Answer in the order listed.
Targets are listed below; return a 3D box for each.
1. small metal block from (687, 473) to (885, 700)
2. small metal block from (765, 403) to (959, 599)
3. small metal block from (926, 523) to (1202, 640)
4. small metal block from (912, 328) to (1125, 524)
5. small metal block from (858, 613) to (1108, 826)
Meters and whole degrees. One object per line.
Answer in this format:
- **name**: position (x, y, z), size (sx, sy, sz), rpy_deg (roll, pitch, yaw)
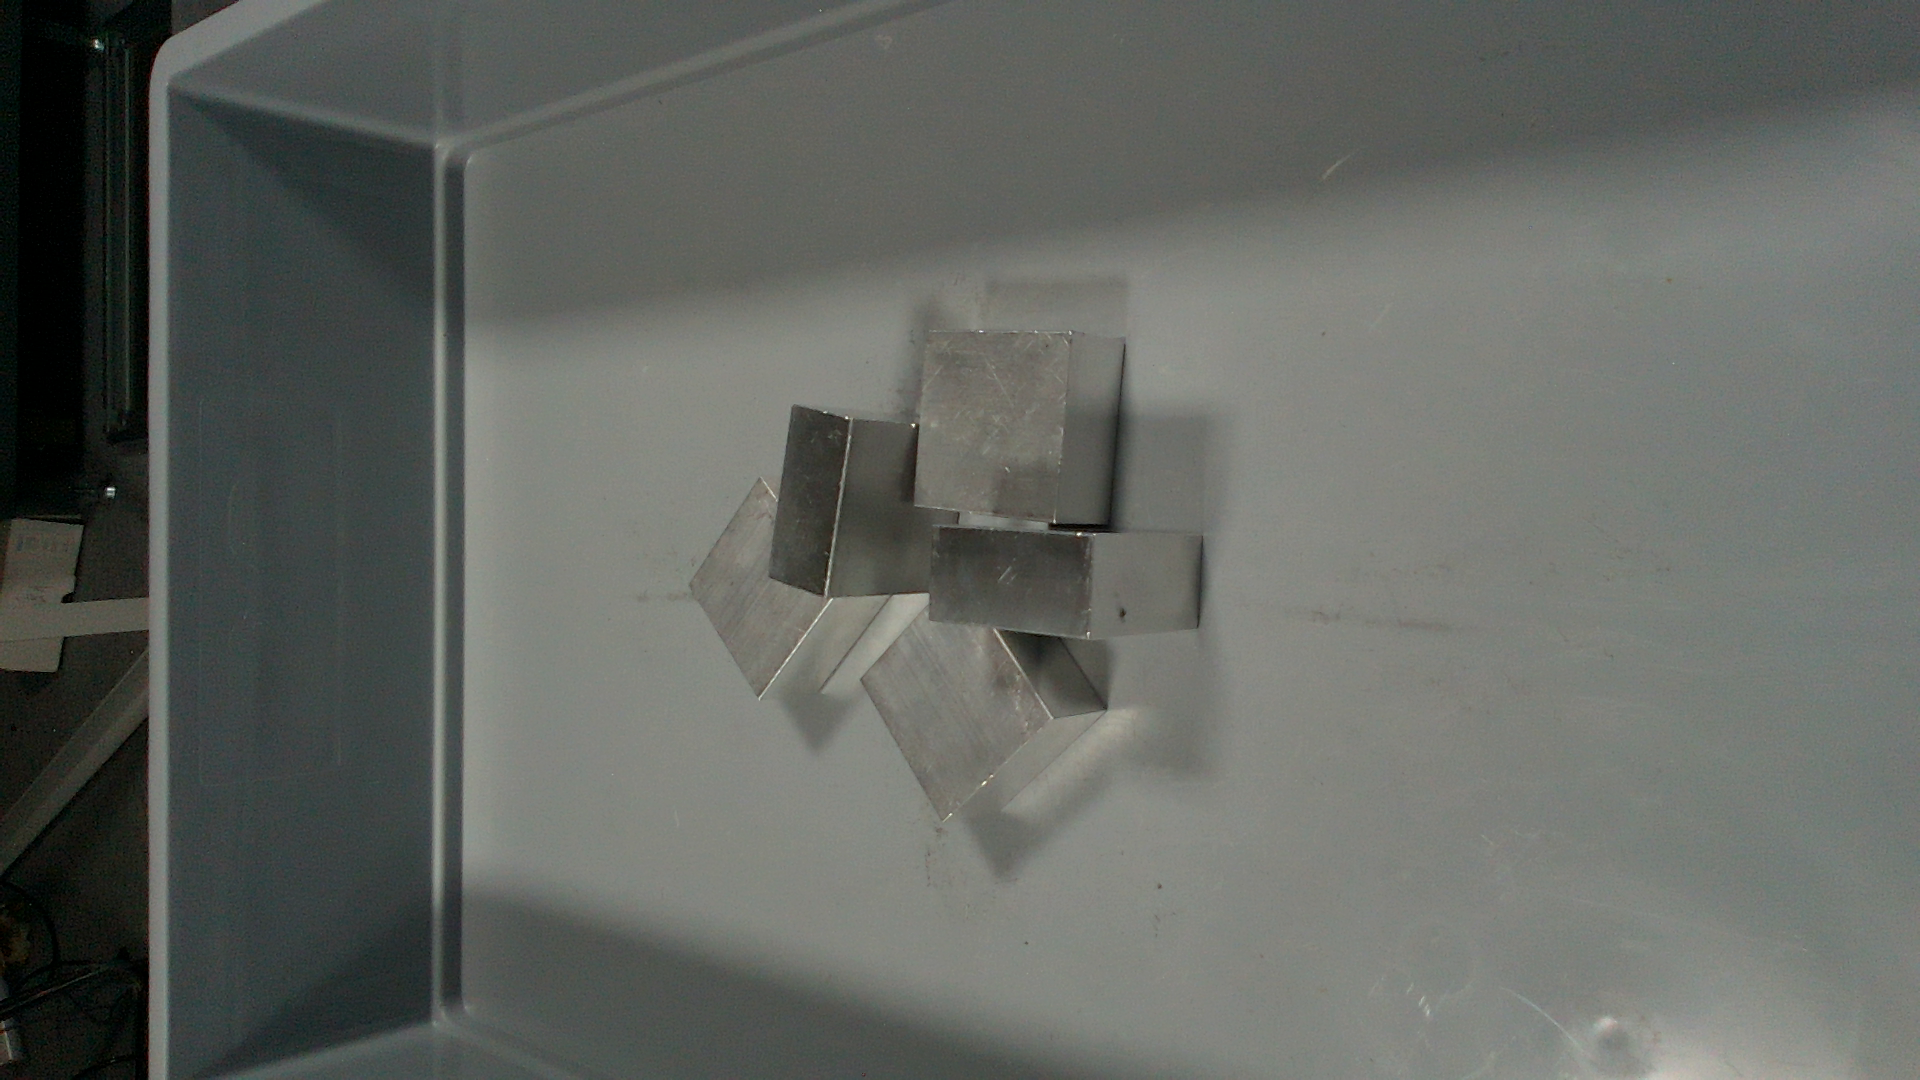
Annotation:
- **small metal block**: position (-0.055, 0.015, 0.439), size (0.050, 0.025, 0.050), rpy_deg (53, 121, 27)
- **small metal block**: position (-0.026, -0.011, 0.398), size (0.025, 0.050, 0.050), rpy_deg (16, 100, 39)
- **small metal block**: position (0.027, 0.009, 0.353), size (0.050, 0.050, 0.025), rpy_deg (4, 93, 40)
- **small metal block**: position (0.016, -0.032, 0.380), size (0.050, 0.025, 0.050), rpy_deg (8, 95, 40)
- **small metal block**: position (0.005, 0.044, 0.388), size (0.050, 0.025, 0.050), rpy_deg (-48, 61, 29)
